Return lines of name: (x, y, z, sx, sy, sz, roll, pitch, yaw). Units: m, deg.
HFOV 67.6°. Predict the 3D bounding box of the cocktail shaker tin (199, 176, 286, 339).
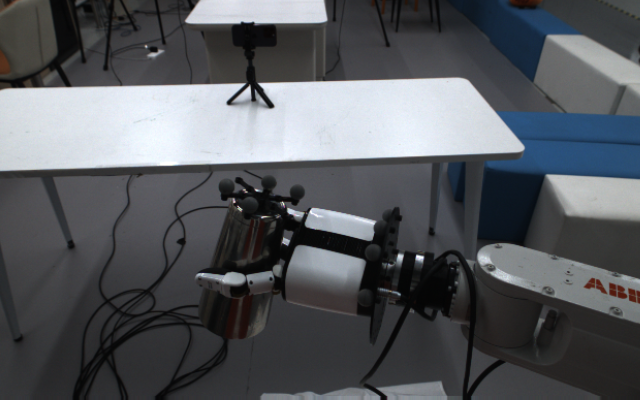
cocktail shaker tin: (-0.087, 0.073, 0.586, 0.093, 0.170, 0.093, 12, 29, -7)
